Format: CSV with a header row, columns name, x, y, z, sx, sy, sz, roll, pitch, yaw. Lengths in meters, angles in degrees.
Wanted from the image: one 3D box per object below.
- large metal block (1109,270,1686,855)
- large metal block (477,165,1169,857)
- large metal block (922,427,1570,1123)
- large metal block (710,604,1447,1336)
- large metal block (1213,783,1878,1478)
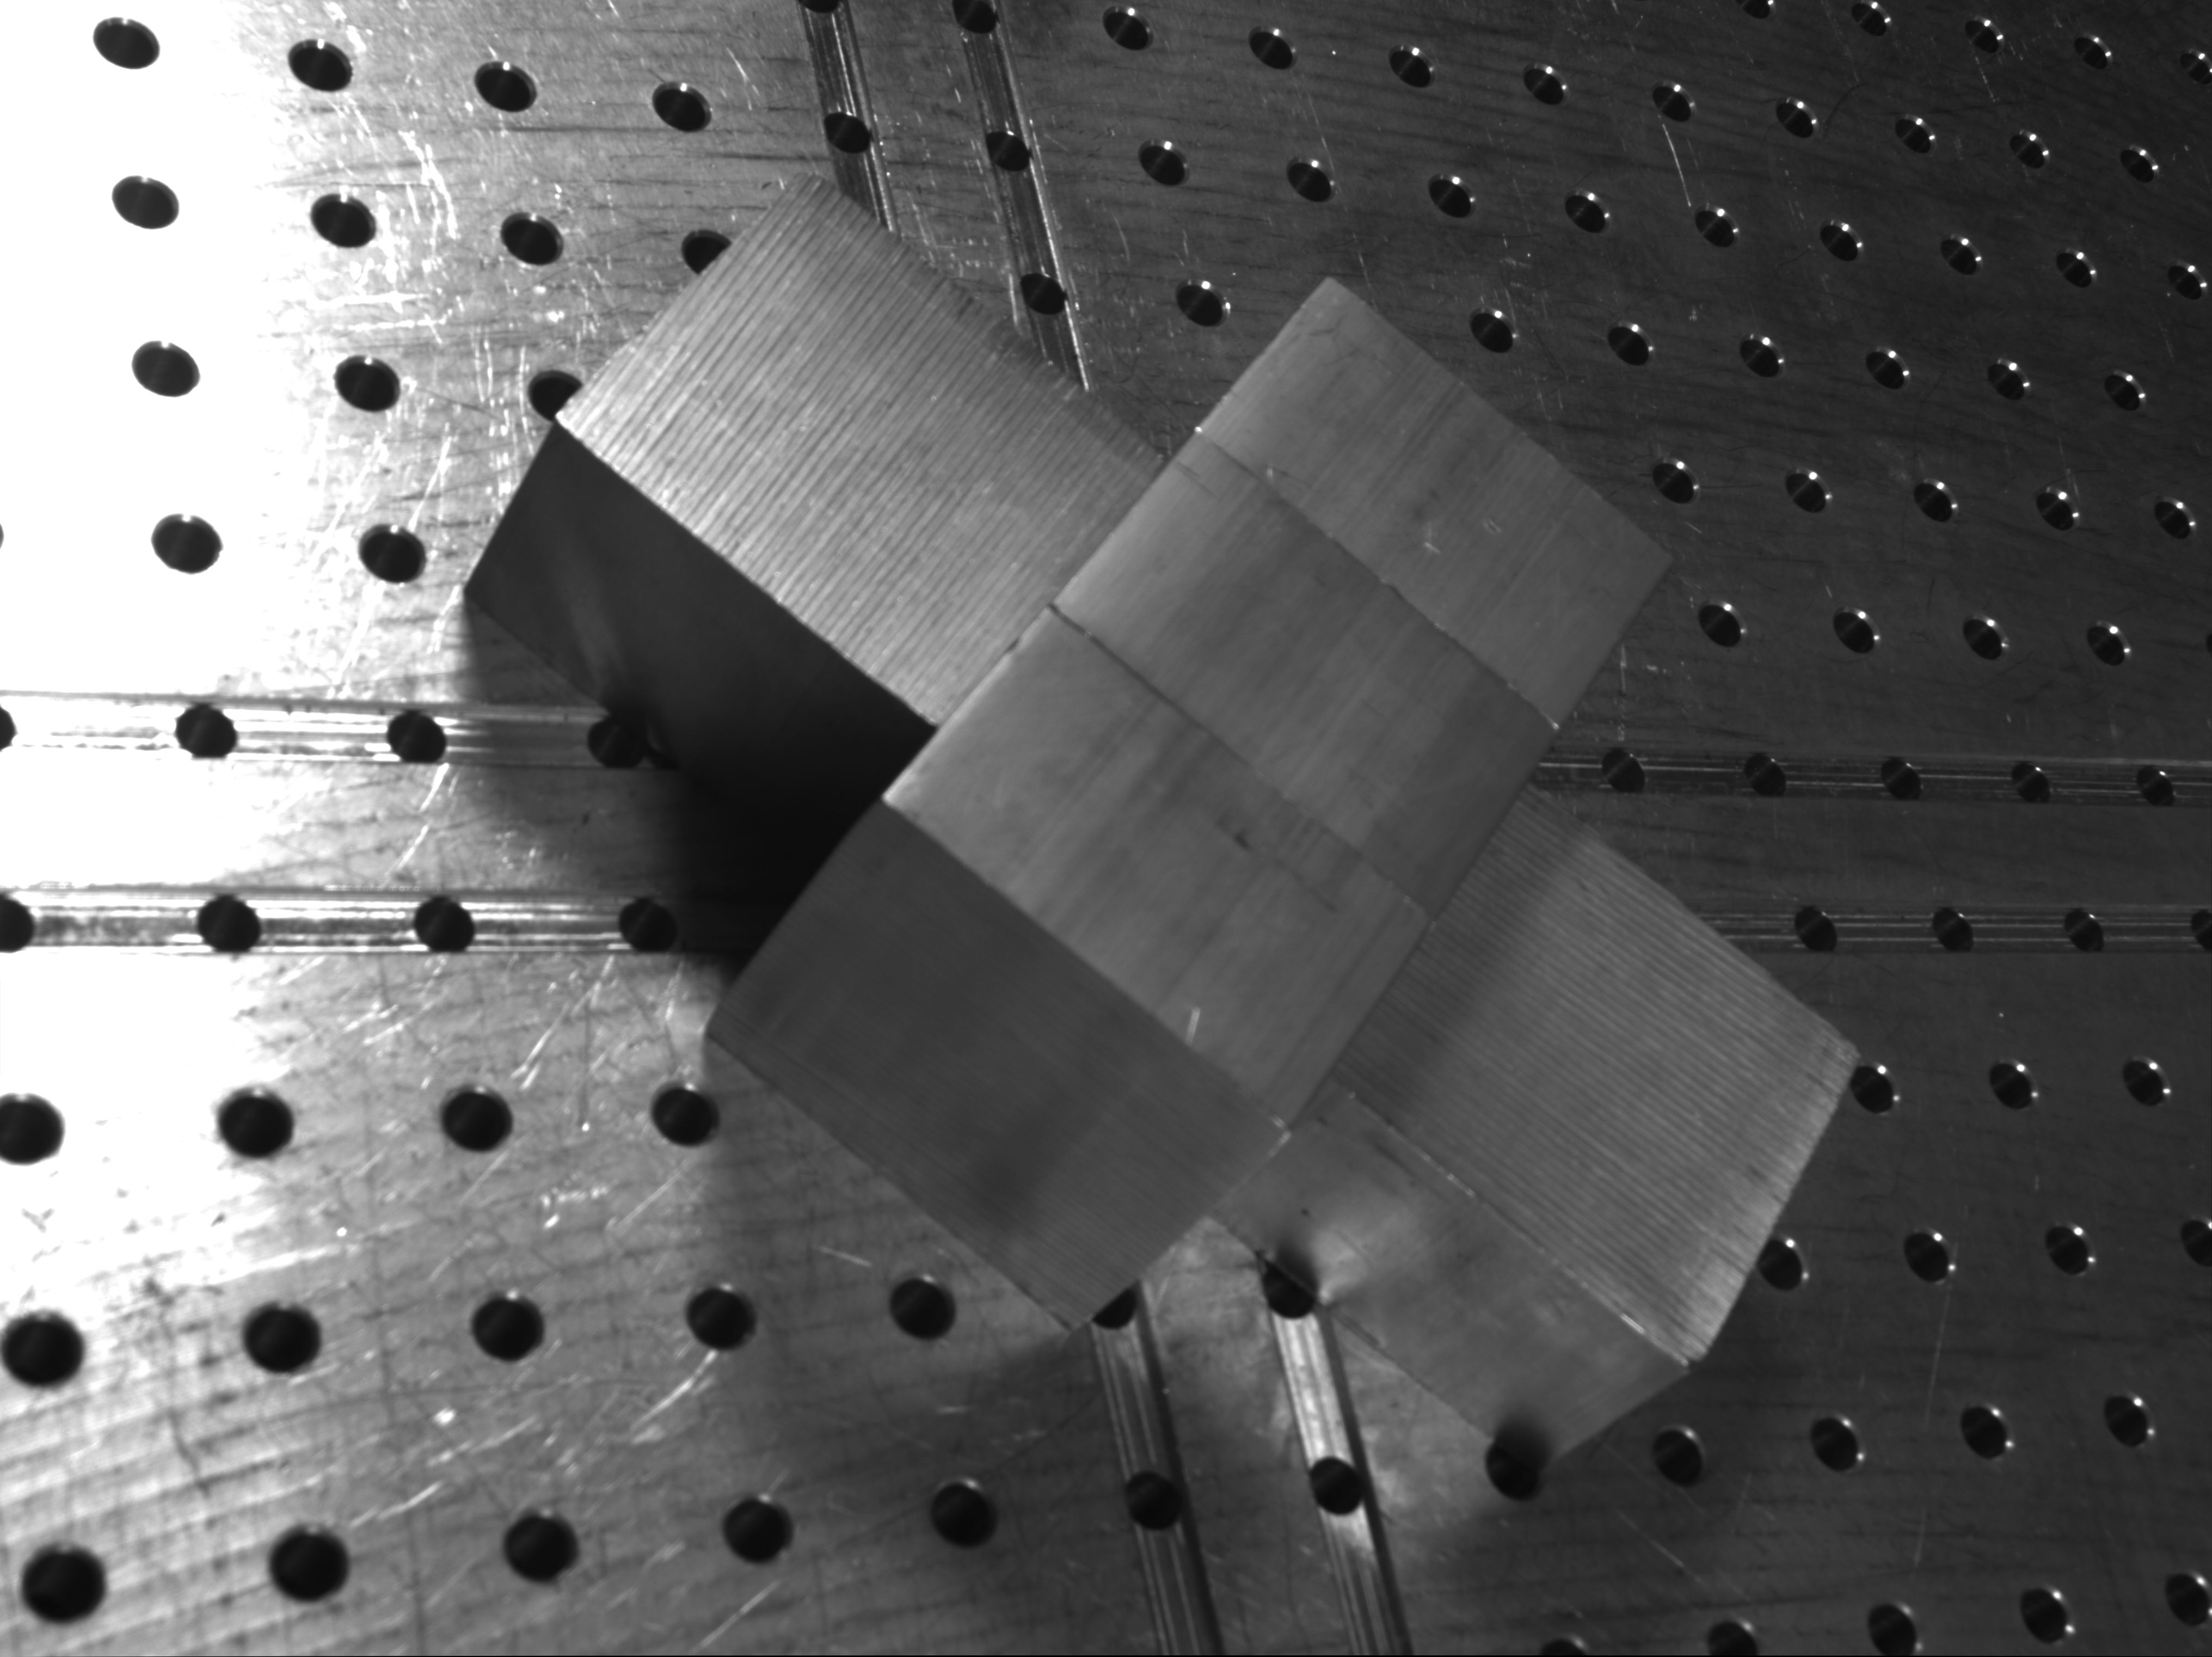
name,x,y,z,sx,sy,sz,roll,pitch,yaw
large metal block,0.042,-0.038,0.654,0.080,0.080,0.050,39,51,-2
large metal block,-0.047,-0.053,0.631,0.080,0.050,0.080,38,52,-2
large metal block,0.018,-0.007,0.622,0.080,0.080,0.050,39,51,-2
large metal block,-0.006,0.024,0.590,0.080,0.080,0.050,39,51,-2
large metal block,0.075,0.050,0.636,0.080,0.050,0.080,40,52,-1
